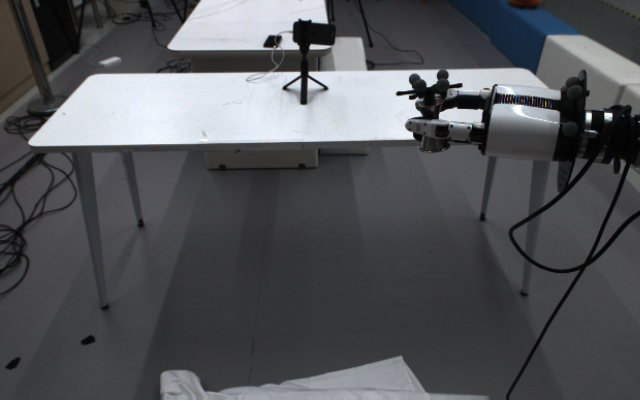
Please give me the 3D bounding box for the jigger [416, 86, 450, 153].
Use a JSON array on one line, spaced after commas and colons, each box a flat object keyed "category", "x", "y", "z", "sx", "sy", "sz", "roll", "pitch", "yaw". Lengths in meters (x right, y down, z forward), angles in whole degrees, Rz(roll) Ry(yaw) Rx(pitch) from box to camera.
[{"category": "jigger", "x": 0.161, "y": -0.109, "z": 0.694, "sx": 0.043, "sy": 0.071, "sz": 0.043, "roll": -11, "pitch": 23, "yaw": 5}]
